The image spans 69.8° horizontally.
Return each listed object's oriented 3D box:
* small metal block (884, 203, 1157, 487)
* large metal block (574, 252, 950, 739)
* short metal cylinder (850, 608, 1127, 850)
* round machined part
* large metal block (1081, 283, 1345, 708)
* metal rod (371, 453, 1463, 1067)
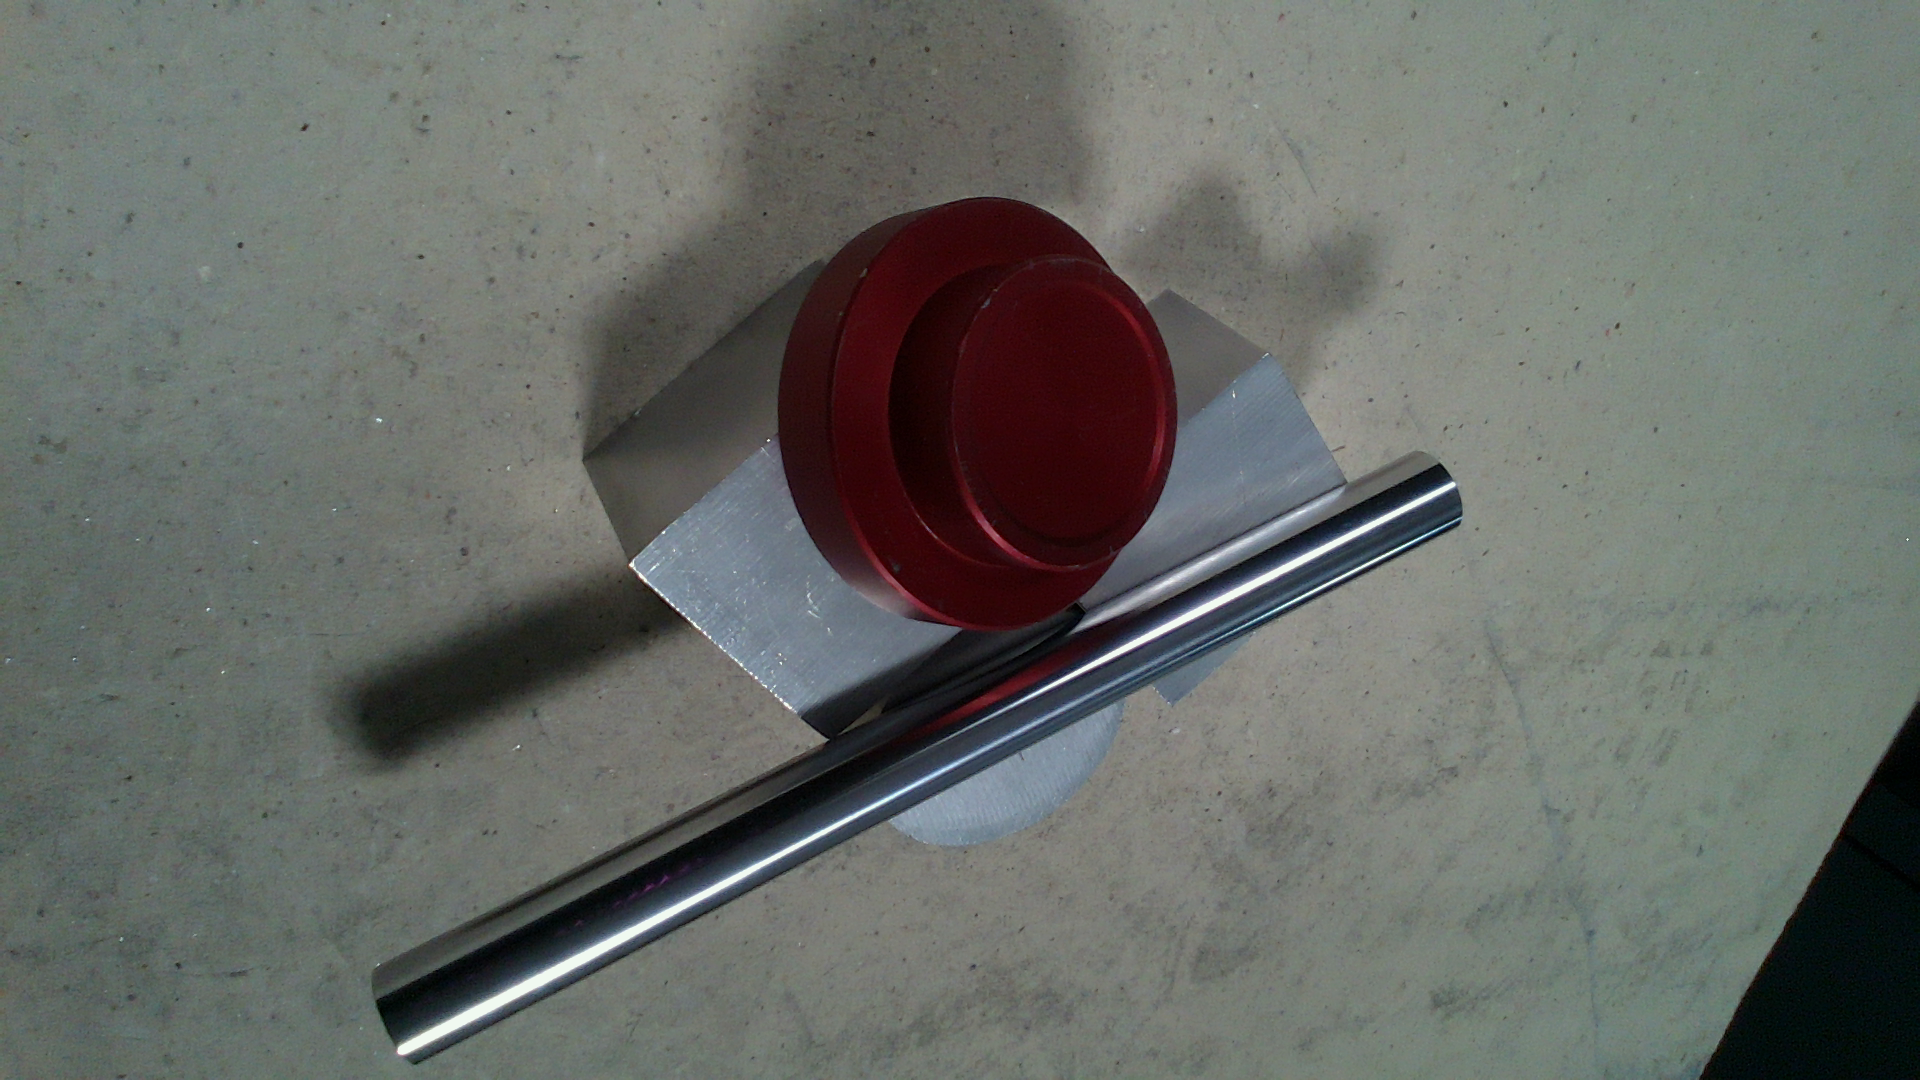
[{"bbox_3d":[0.017,-0.051,0.366,0.050,0.025,0.050,-40,129,-1],"label":"small metal block"},{"bbox_3d":[-0.035,-0.010,0.347,0.080,0.050,0.080,-41,129,0],"label":"large metal block"},{"bbox_3d":[0.001,0.042,0.399,0.080,0.050,0.080,-14,124,-21],"label":"short metal cylinder"},{"bbox_3d":[0.011,-0.028,0.310,0.098,0.042,0.098,-3,94,-39],"label":"round machined part"},{"bbox_3d":[0.061,-0.012,0.399,0.080,0.050,0.080,-42,129,0],"label":"large metal block"},{"bbox_3d":[0.001,0.049,0.355,0.300,0.025,0.025,-25,127,-13],"label":"metal rod"}]
